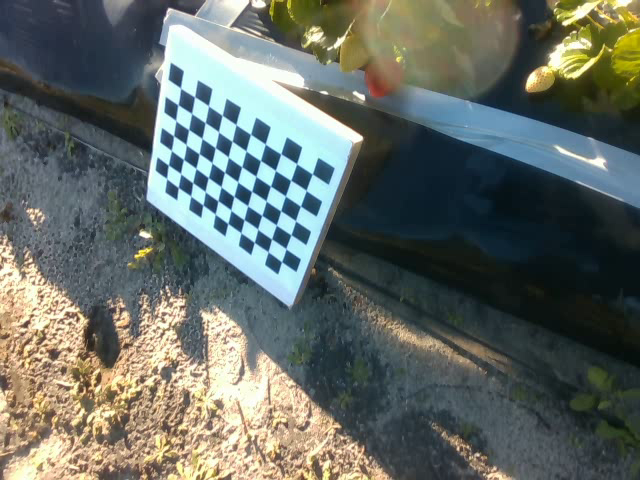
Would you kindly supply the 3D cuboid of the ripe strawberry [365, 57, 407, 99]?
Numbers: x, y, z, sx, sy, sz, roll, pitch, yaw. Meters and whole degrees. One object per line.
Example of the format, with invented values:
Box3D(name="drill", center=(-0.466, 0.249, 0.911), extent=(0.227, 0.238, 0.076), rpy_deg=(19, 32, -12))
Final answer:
Box3D(name="ripe strawberry", center=(0.068, -0.175, 0.640), extent=(0.048, 0.064, 0.045), rpy_deg=(33, -42, -18))
